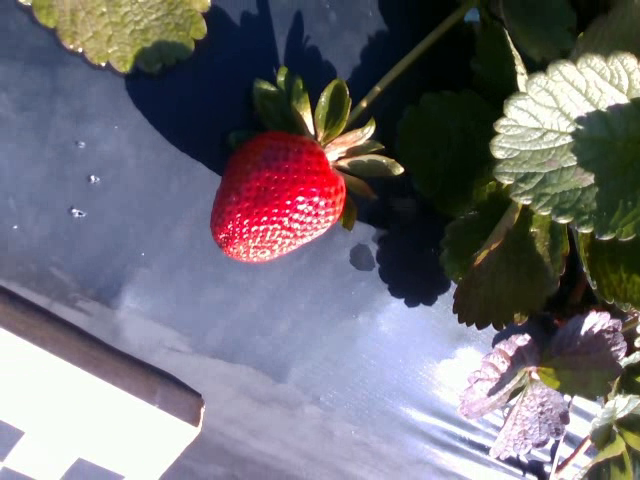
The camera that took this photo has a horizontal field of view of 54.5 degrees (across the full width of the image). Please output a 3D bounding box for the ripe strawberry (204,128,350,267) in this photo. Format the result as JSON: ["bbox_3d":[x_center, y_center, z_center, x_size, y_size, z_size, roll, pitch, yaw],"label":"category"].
[{"bbox_3d":[-0.018,-0.010,0.191,0.043,0.042,0.050,13,44,41],"label":"ripe strawberry"}]
